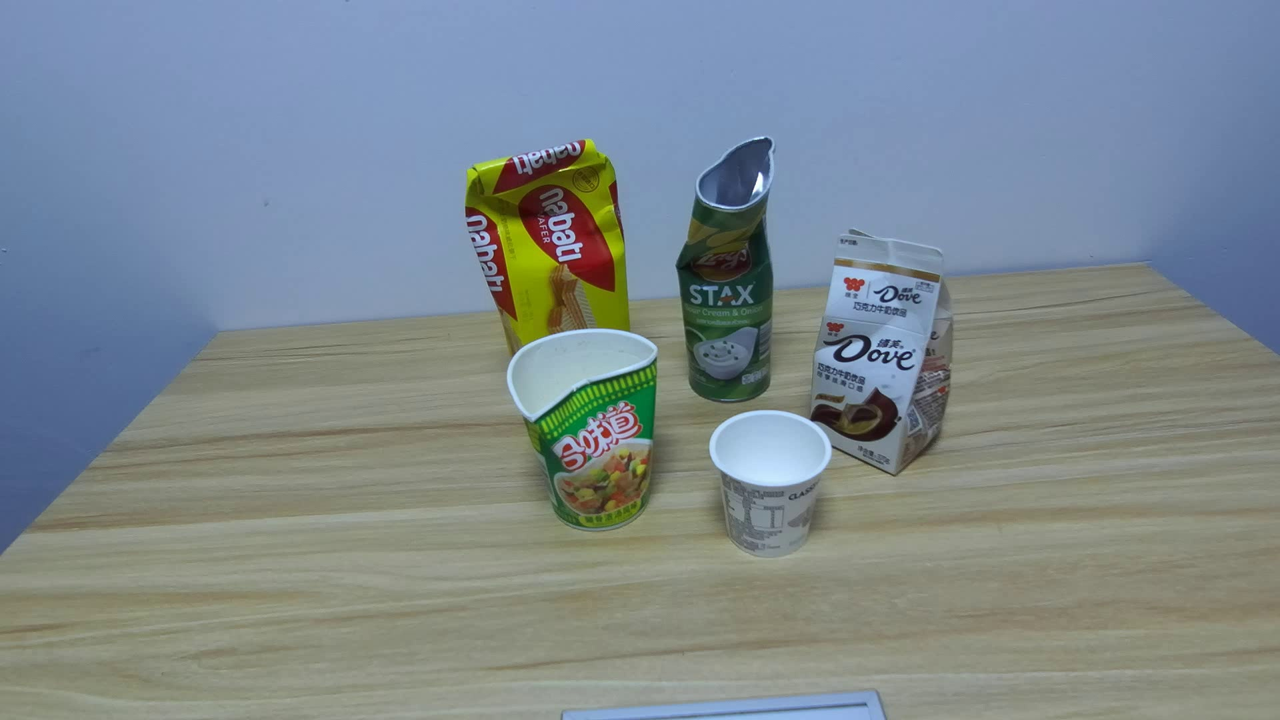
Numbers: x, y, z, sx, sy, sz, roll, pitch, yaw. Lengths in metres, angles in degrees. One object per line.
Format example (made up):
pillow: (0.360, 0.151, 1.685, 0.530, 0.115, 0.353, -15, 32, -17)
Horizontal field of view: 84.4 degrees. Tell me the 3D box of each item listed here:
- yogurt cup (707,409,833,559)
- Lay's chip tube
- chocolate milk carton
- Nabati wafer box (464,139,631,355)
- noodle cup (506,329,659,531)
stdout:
yogurt cup: (0.080, 0.079, 0.437, 0.072, 0.068, 0.072, -4, 34, 3)
Lay's chip tube: (0.071, -0.058, 0.535, 0.079, 0.200, 0.071, -16, 42, -12)
chocolate milk carton: (0.170, -0.010, 0.484, 0.084, 0.155, 0.073, 25, 44, 37)
Nabati wafer box: (-0.061, -0.057, 0.545, 0.113, 0.205, 0.042, -20, 31, -20)
noodle cup: (-0.030, 0.047, 0.466, 0.094, 0.109, 0.086, -12, 33, -10)
